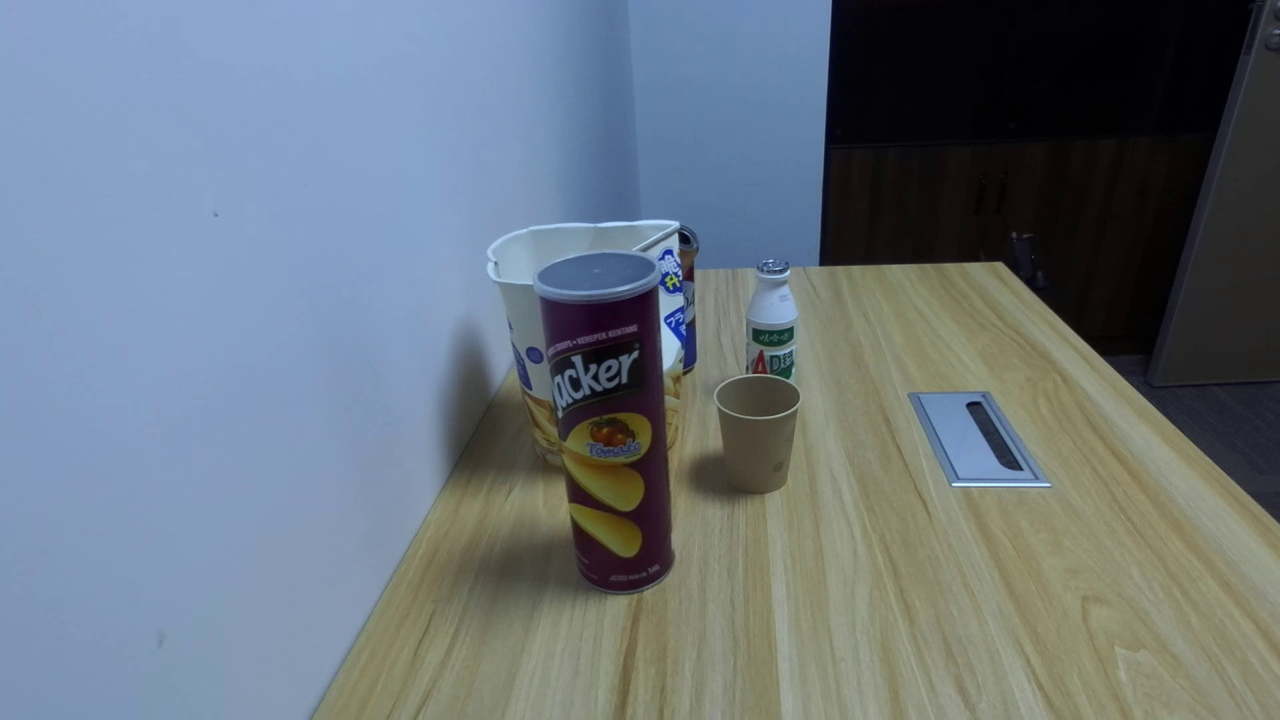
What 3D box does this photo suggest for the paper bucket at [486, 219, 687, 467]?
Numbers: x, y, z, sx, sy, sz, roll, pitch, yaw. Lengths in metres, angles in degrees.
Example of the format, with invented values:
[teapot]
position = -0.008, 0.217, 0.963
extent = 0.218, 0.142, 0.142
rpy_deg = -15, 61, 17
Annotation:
[paper bucket]
position = -0.042, -0.012, 0.655
extent = 0.169, 0.202, 0.162
rpy_deg = -3, 29, 10

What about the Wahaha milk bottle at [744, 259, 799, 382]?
[Wahaha milk bottle]
position = 0.131, -0.027, 0.716
extent = 0.053, 0.147, 0.053
rpy_deg = -1, 25, 1

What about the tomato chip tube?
[tomato chip tube]
position = -0.018, 0.050, 0.490
extent = 0.078, 0.234, 0.078
rpy_deg = -3, 27, 2

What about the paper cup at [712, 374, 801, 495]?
[paper cup]
position = 0.101, 0.066, 0.608
extent = 0.075, 0.082, 0.075
rpy_deg = -3, 26, 2

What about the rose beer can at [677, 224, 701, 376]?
[rose beer can]
position = 0.031, -0.065, 0.789
extent = 0.070, 0.168, 0.069
rpy_deg = -2, 26, -5
